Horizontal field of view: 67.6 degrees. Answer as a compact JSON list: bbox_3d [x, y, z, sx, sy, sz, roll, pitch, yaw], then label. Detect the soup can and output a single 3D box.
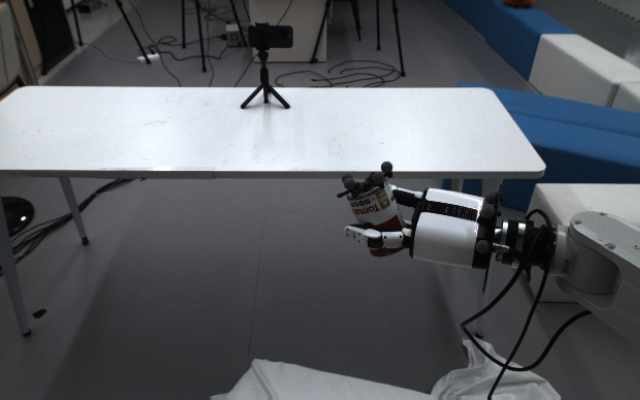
[{"bbox_3d":[0.091,0.024,0.732,0.067,0.101,0.067,-23,16,7],"label":"soup can"}]
